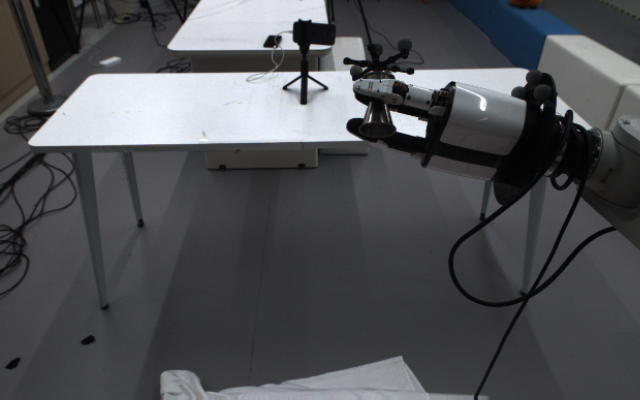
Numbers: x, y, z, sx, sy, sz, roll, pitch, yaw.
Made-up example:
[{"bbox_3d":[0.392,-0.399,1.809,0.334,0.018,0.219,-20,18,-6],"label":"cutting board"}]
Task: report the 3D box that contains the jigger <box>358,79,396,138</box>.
[{"bbox_3d":[0.068,-0.115,0.580,0.043,0.043,0.071,3,75,1],"label":"jigger"}]
